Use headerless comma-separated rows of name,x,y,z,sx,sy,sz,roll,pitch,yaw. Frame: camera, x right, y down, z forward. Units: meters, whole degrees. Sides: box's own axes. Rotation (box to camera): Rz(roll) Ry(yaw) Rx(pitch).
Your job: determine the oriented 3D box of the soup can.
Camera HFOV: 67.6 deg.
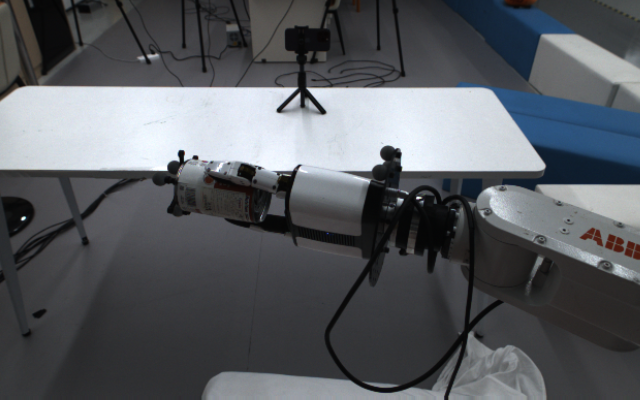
soup can,-0.115,-0.011,0.595,0.101,0.067,0.067,9,35,10
